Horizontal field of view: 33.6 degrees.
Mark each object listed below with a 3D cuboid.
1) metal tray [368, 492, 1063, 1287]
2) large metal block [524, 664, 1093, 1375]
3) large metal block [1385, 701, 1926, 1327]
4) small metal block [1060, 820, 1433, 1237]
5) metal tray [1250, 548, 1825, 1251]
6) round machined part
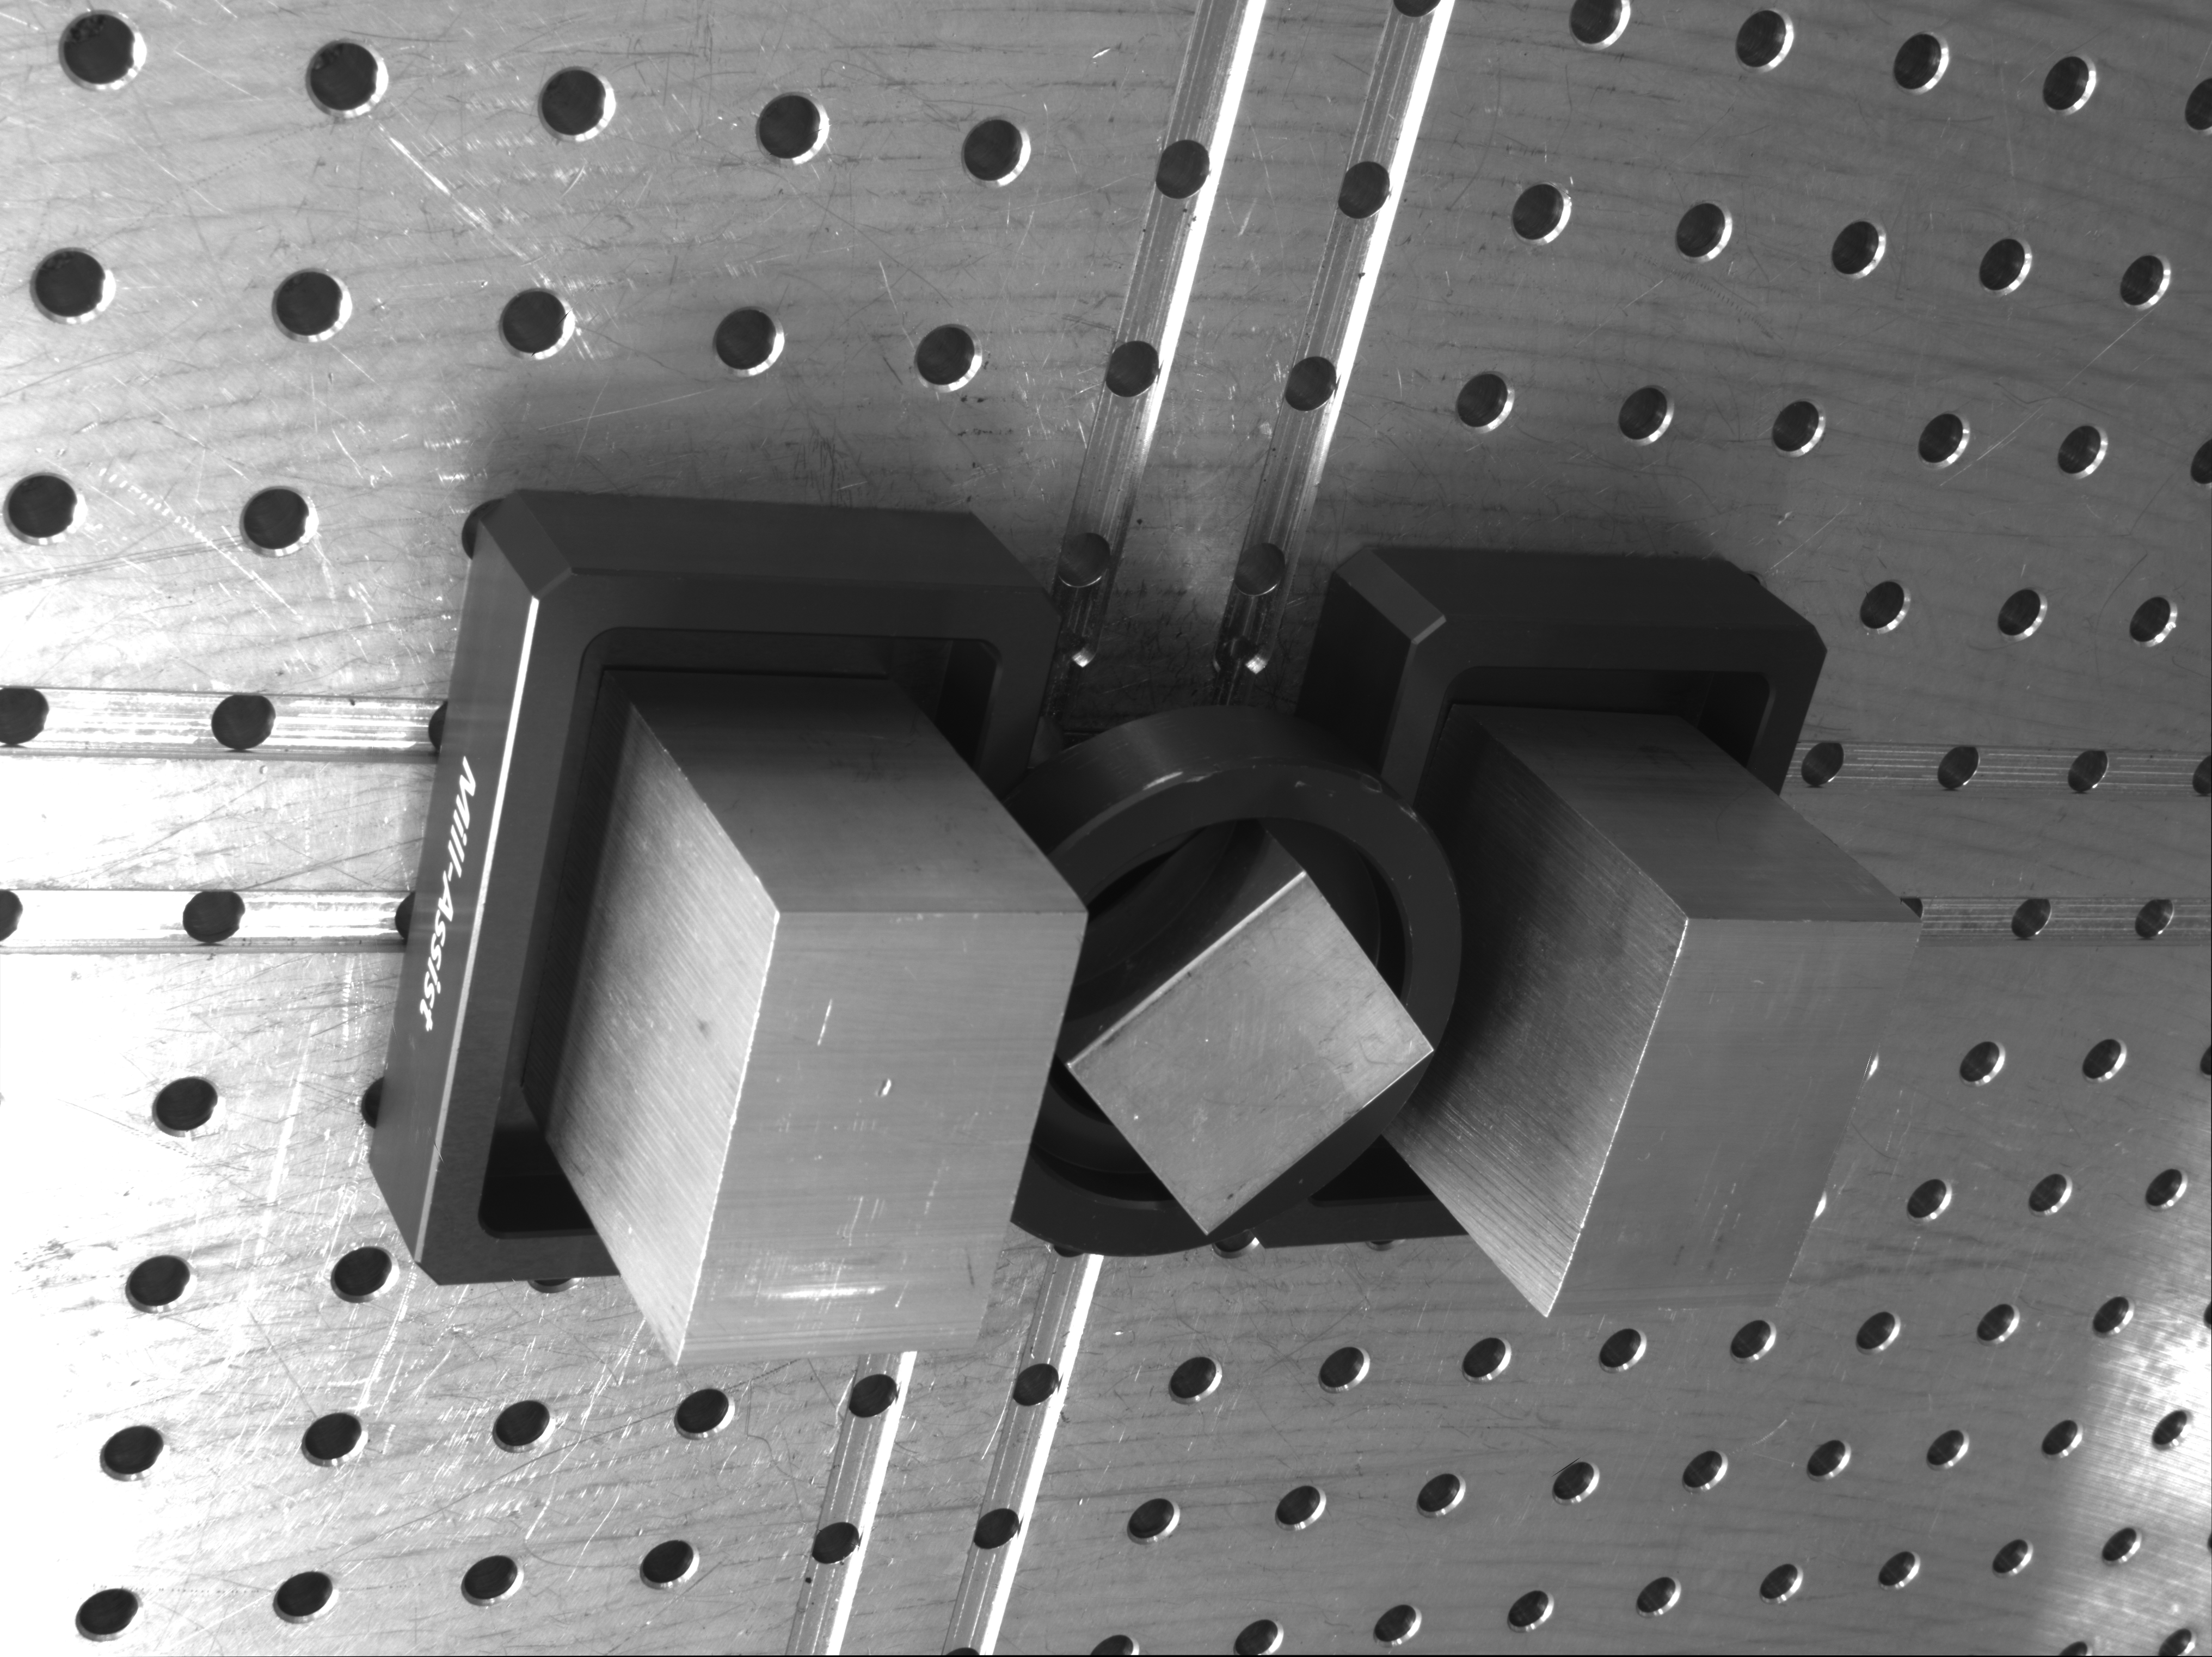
[{"bbox_3d":[-0.066,0.012,0.608,0.090,0.030,0.130,1,118,-28],"label":"metal tray"},{"bbox_3d":[-0.050,0.028,0.578,0.050,0.080,0.080,1,118,-28],"label":"large metal block"},{"bbox_3d":[0.091,0.032,0.656,0.050,0.080,0.080,1,117,-29],"label":"large metal block"},{"bbox_3d":[0.019,0.032,0.618,0.050,0.025,0.050,-39,129,-2],"label":"small metal block"},{"bbox_3d":[0.073,0.014,0.684,0.090,0.030,0.130,0,118,-28],"label":"metal tray"},{"bbox_3d":[0.009,0.022,0.636,0.098,0.042,0.098,-14,124,-21],"label":"round machined part"}]
